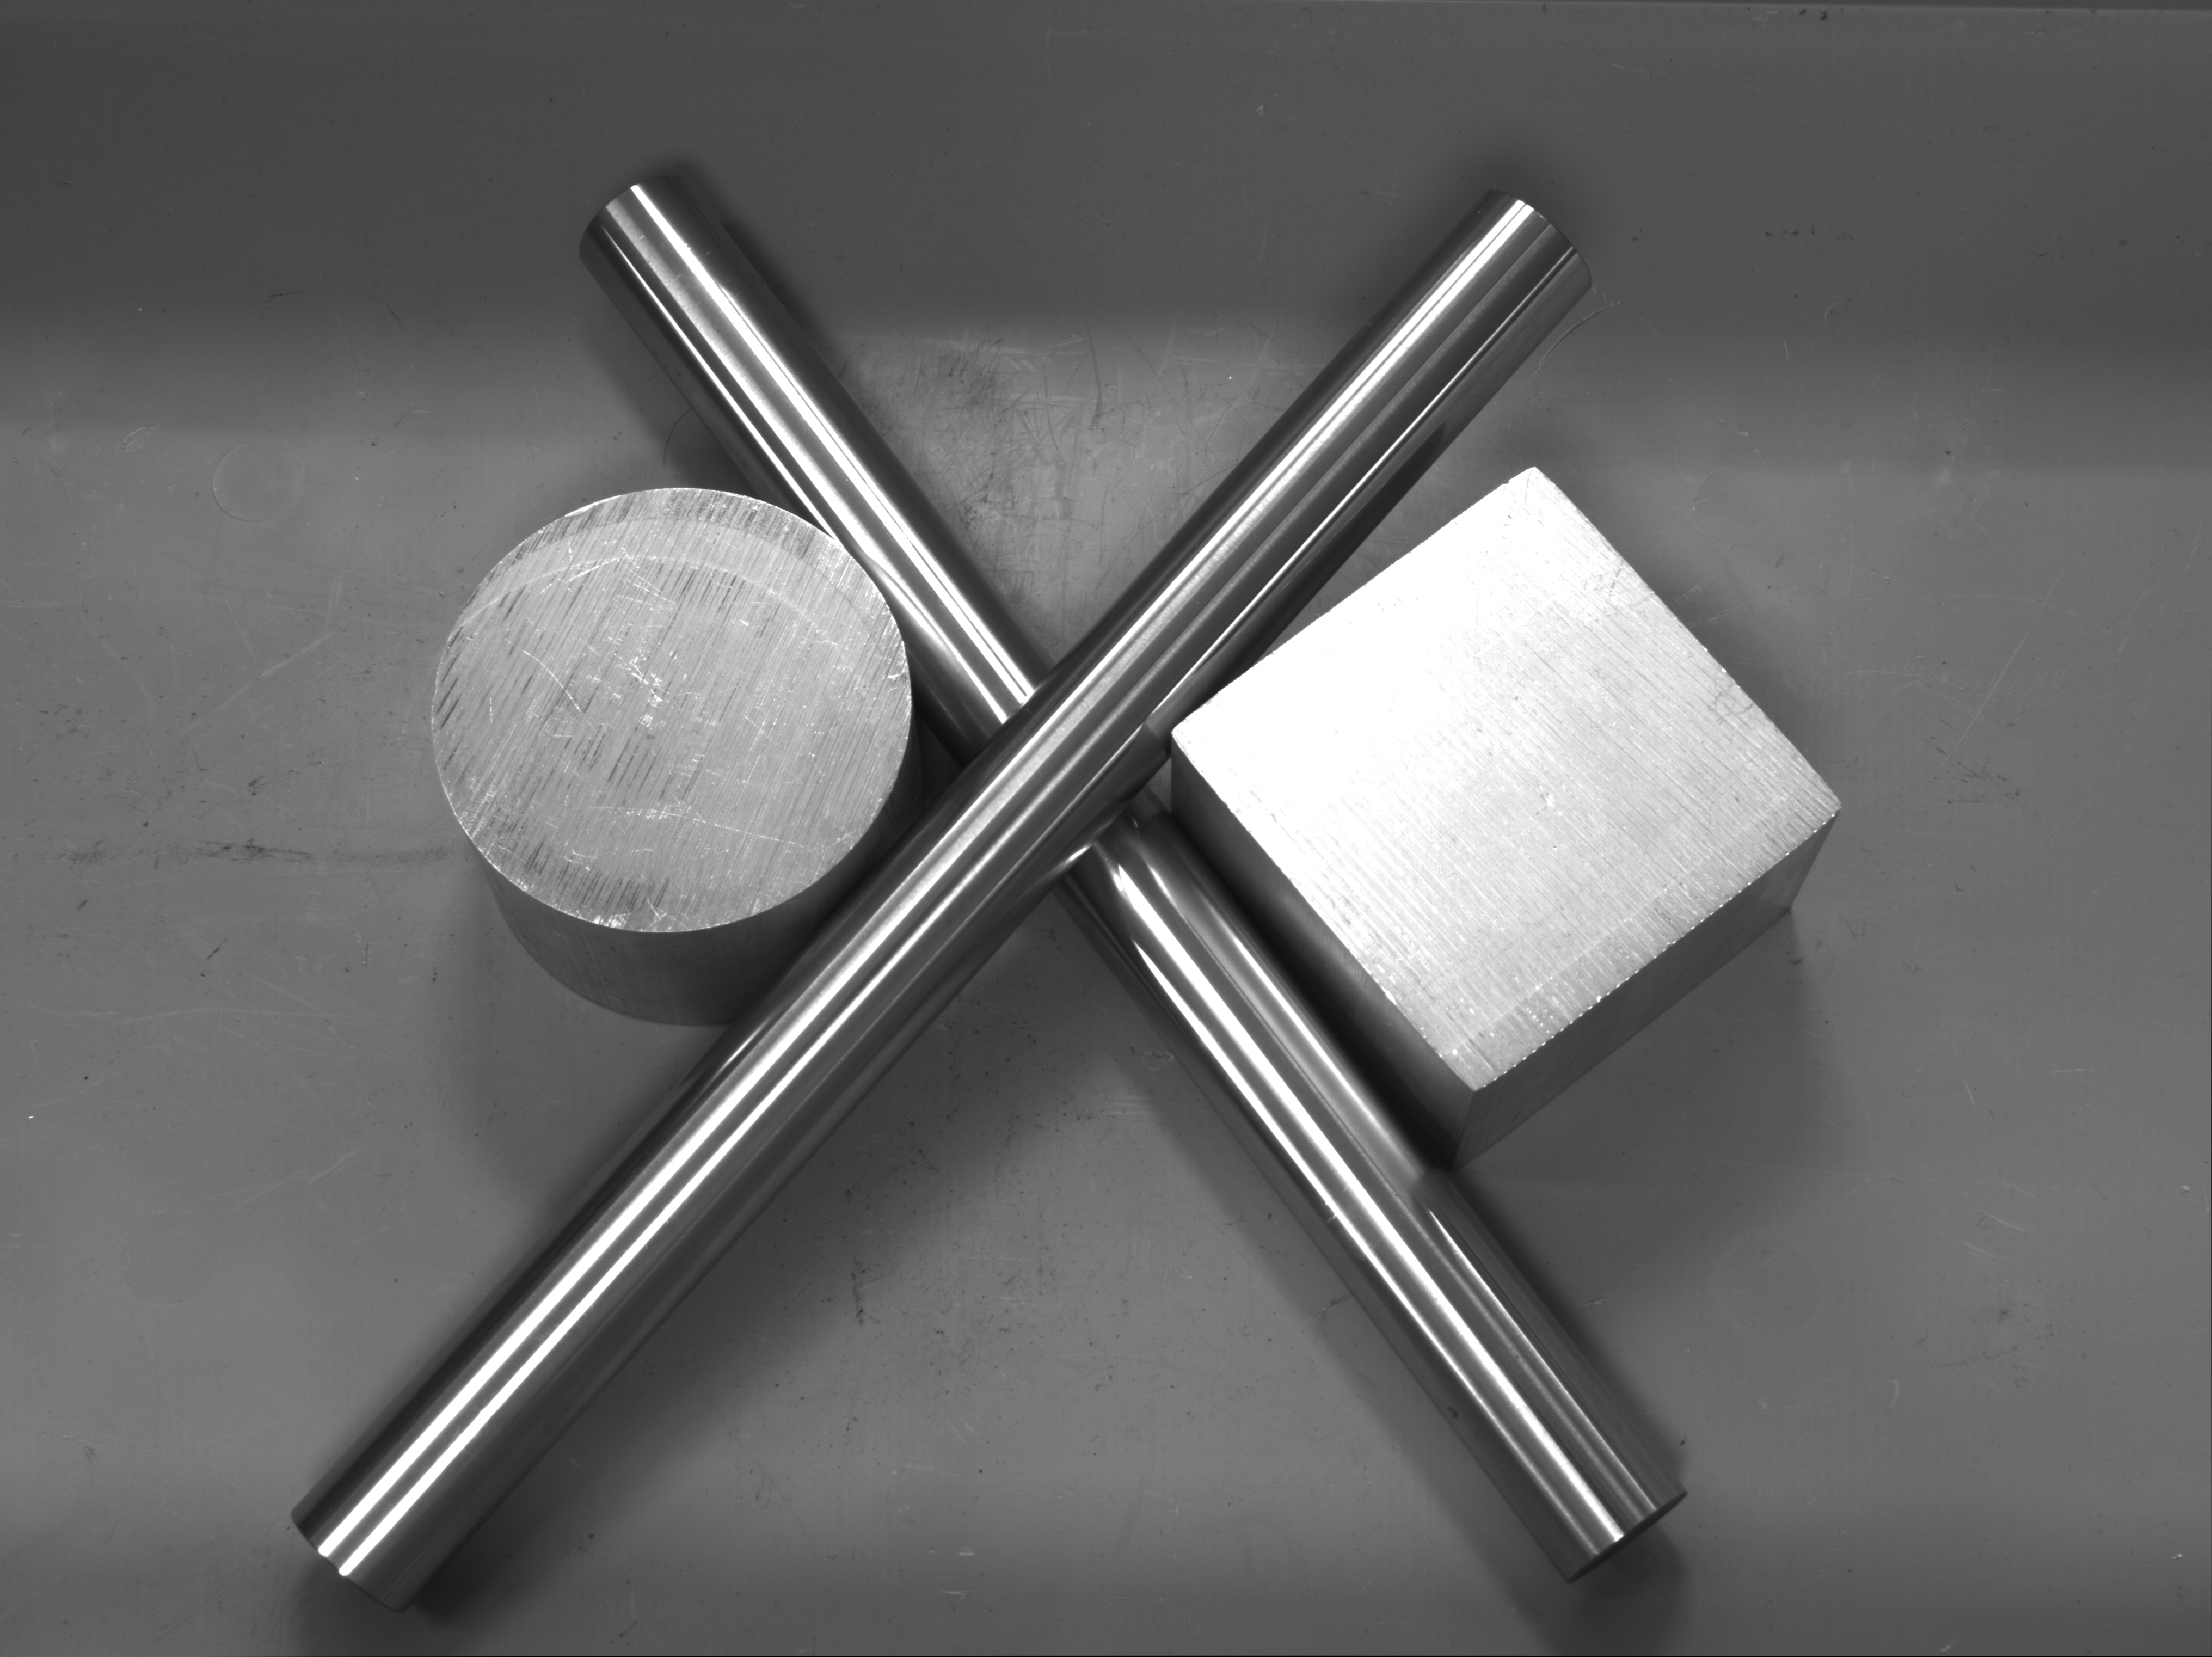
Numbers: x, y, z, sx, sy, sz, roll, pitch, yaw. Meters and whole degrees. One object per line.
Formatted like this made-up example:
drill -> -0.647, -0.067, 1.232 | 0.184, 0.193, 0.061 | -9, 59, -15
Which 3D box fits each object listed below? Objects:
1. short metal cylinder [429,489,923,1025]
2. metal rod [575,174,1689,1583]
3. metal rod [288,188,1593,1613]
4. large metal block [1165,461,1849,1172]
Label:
short metal cylinder -> -0.073, -0.012, 0.635 | 0.080, 0.050, 0.080 | 0, 70, 0
metal rod -> -0.001, 0.001, 0.643 | 0.025, 0.025, 0.300 | -34, 73, -11
metal rod -> -0.025, 0.009, 0.618 | 0.025, 0.025, 0.300 | 40, 83, 14
large metal block -> 0.066, -0.001, 0.630 | 0.080, 0.050, 0.080 | -36, 74, -12
